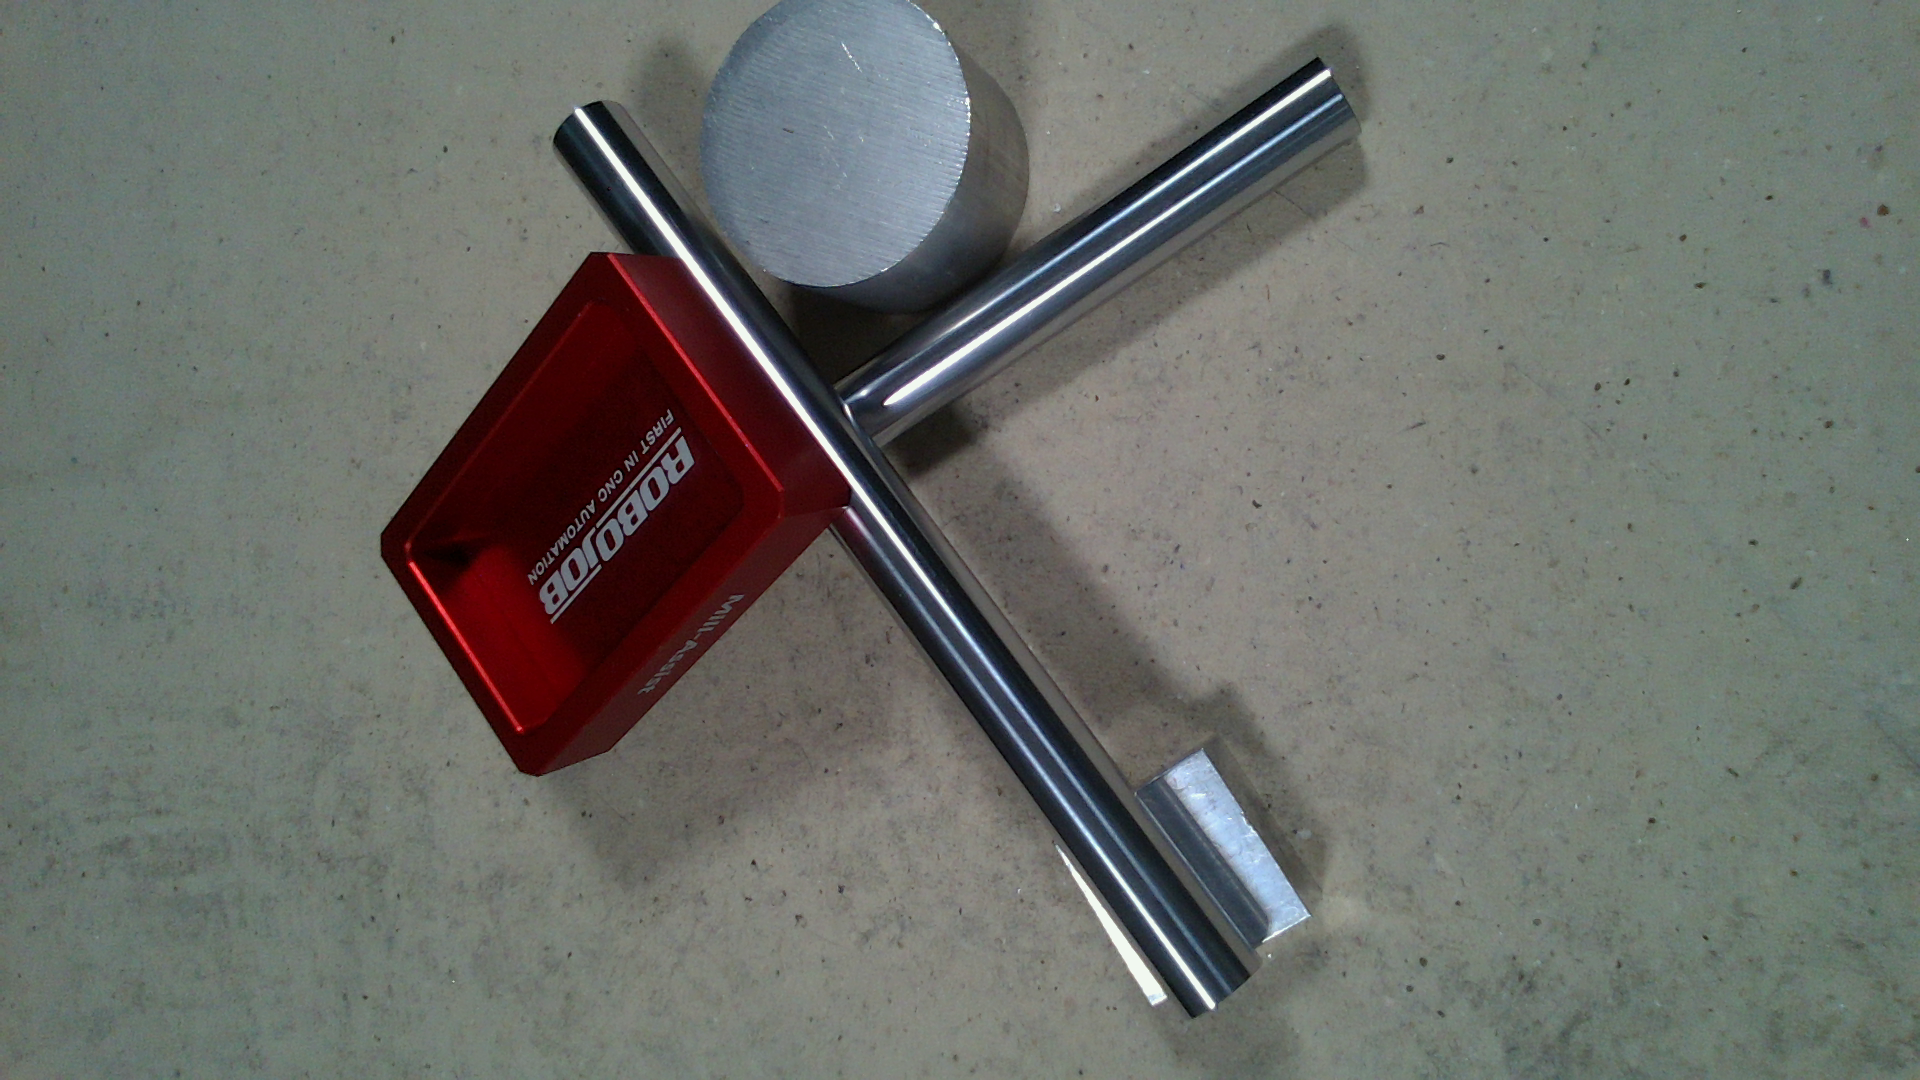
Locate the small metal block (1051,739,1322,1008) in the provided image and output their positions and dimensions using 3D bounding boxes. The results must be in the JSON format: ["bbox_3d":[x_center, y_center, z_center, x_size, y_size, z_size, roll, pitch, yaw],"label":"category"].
[{"bbox_3d":[0.062,0.089,0.374,0.050,0.025,0.050,-35,79,17],"label":"small metal block"}]

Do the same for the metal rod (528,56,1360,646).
[{"bbox_3d":[-0.023,-0.041,0.405,0.299,0.025,0.025,-32,80,17],"label":"metal rod"}]

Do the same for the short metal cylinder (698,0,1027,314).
[{"bbox_3d":[-0.027,-0.108,0.391,0.080,0.050,0.080,0,90,20],"label":"short metal cylinder"}]

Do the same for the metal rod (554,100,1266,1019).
[{"bbox_3d":[-0.021,-0.004,0.378,0.025,0.025,0.300,-41,77,16],"label":"metal rod"}]

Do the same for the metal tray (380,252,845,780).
[{"bbox_3d":[-0.103,-0.005,0.389,0.130,0.030,0.090,-44,76,27],"label":"metal tray"}]
